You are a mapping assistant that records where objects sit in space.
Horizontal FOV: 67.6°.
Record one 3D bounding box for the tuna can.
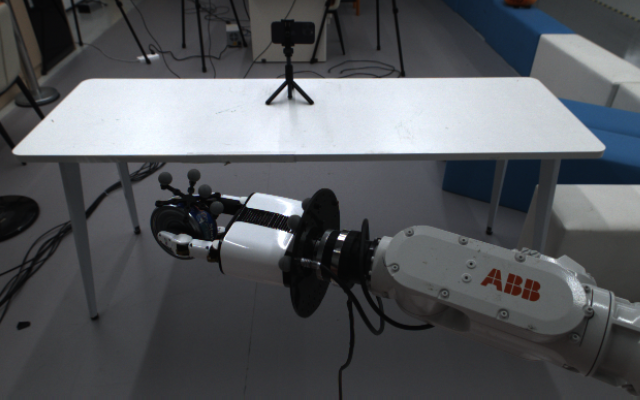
[{"bbox_3d":[-0.181,0.037,0.646,0.085,0.085,0.034,15,31,18],"label":"tuna can"}]
